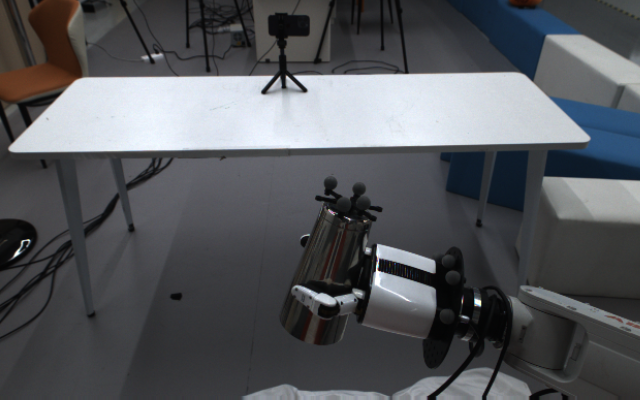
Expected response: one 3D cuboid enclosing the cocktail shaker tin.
[{"bbox_3d":[0.013,0.089,0.626,0.093,0.170,0.093,15,20,-5],"label":"cocktail shaker tin"}]
